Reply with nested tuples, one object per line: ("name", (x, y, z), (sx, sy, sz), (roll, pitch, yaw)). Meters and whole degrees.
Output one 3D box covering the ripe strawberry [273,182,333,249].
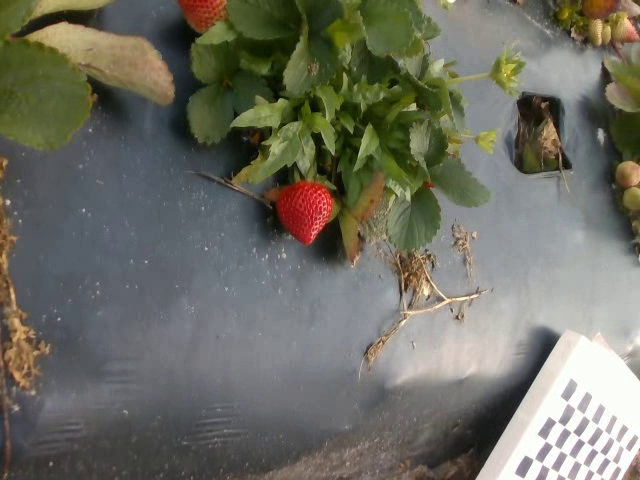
("ripe strawberry", (-0.013, -0.018, 0.430), (0.043, 0.051, 0.042), (15, -22, -38))
